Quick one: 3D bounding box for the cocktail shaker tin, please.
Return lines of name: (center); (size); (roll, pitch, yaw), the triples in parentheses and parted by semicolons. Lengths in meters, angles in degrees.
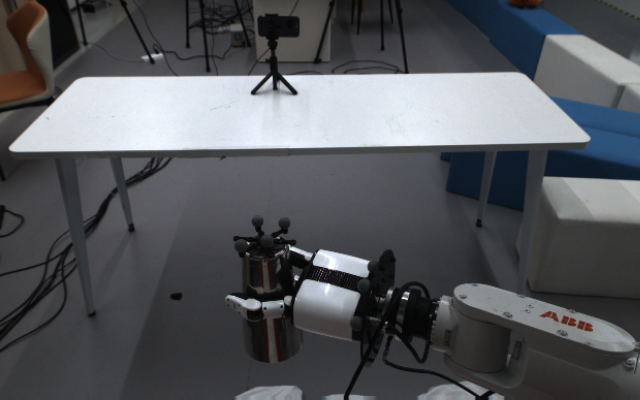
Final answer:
cocktail shaker tin: (-0.071, 0.139, 0.706); (0.093, 0.170, 0.093); (-2, 26, 1)
